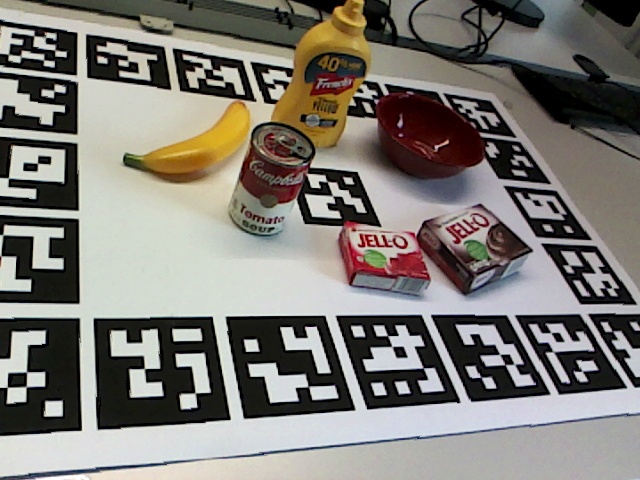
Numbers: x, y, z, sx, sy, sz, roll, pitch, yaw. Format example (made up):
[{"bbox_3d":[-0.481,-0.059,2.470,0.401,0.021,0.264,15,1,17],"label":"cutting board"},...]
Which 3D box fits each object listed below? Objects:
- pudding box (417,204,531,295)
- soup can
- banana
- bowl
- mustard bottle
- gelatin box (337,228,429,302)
[{"bbox_3d":[0.186,0.009,0.748,0.113,0.039,0.090,-19,63,-39],"label":"pudding box"},{"bbox_3d":[-0.058,-0.069,0.649,0.067,0.102,0.068,15,40,-14],"label":"soup can"},{"bbox_3d":[-0.138,-0.125,0.731,0.074,0.039,0.197,24,39,14],"label":"banana"},{"bbox_3d":[0.147,-0.132,0.870,0.161,0.055,0.162,13,42,-12],"label":"bowl"},{"bbox_3d":[0.015,-0.208,0.759,0.096,0.191,0.059,3,43,-24],"label":"mustard bottle"},{"bbox_3d":[0.068,0.026,0.679,0.089,0.030,0.073,8,47,-18],"label":"gelatin box"}]
